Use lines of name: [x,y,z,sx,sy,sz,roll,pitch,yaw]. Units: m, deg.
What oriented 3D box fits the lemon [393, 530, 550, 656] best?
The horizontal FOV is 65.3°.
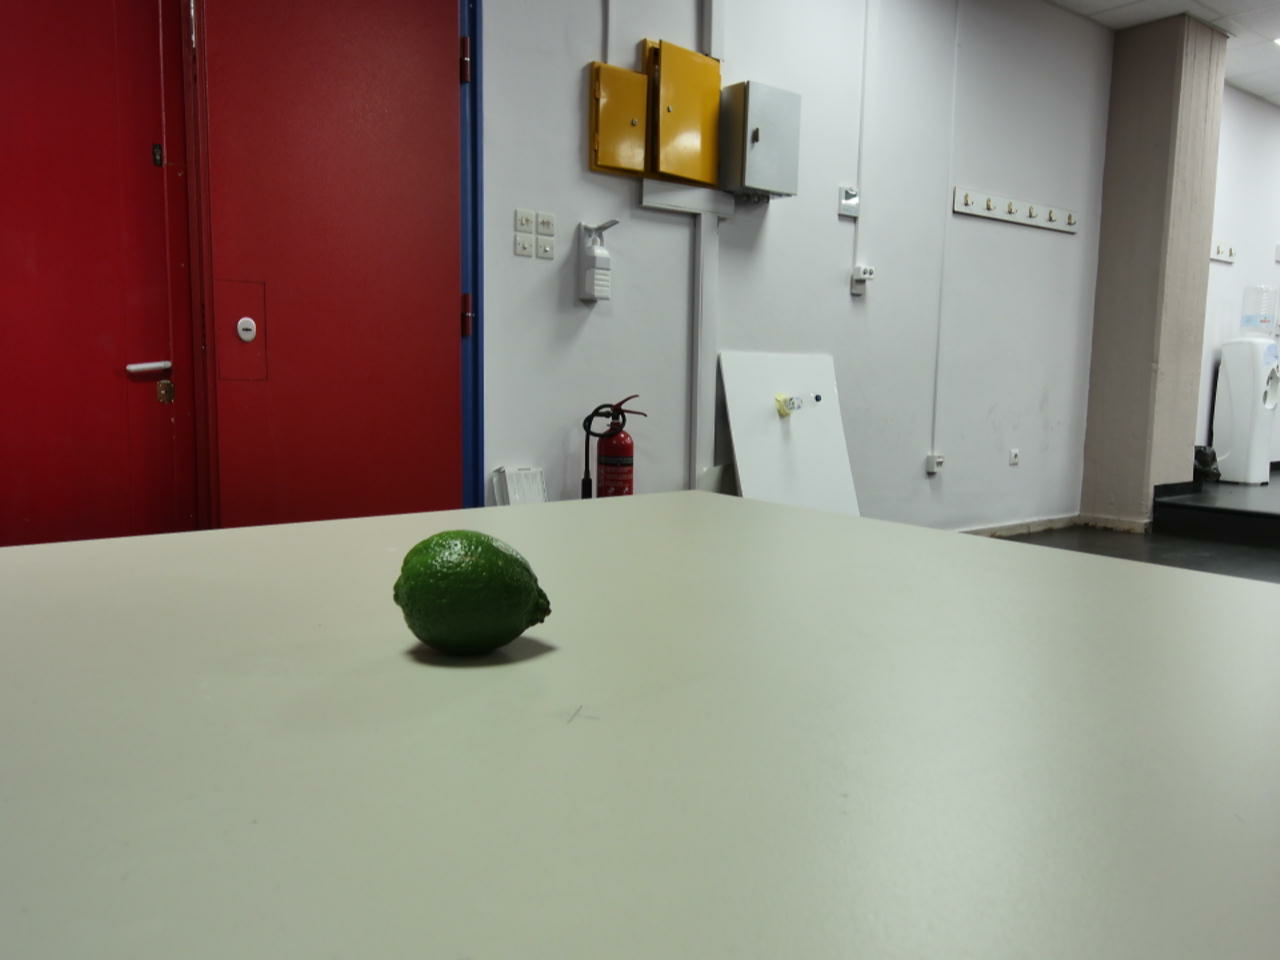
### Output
lemon: [-0.073,0.046,0.416,0.057,0.051,0.054,-3,5,-42]
